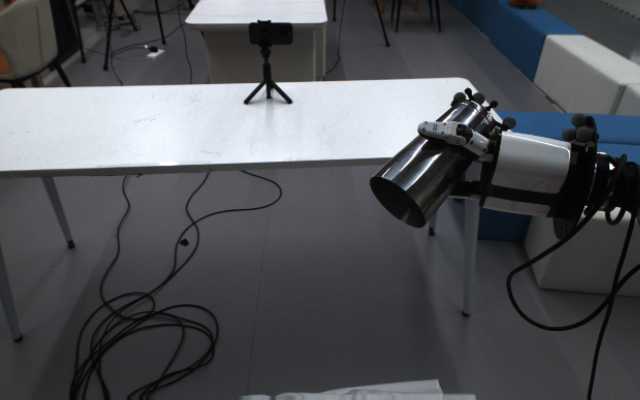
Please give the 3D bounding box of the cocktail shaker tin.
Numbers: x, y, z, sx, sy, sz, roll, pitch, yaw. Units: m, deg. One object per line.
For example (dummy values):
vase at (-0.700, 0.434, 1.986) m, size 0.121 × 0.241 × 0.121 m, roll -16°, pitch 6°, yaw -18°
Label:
cocktail shaker tin at (0.157, -0.060, 0.644) m, size 0.170 × 0.093 × 0.093 m, roll -44°, pitch 51°, yaw -15°
